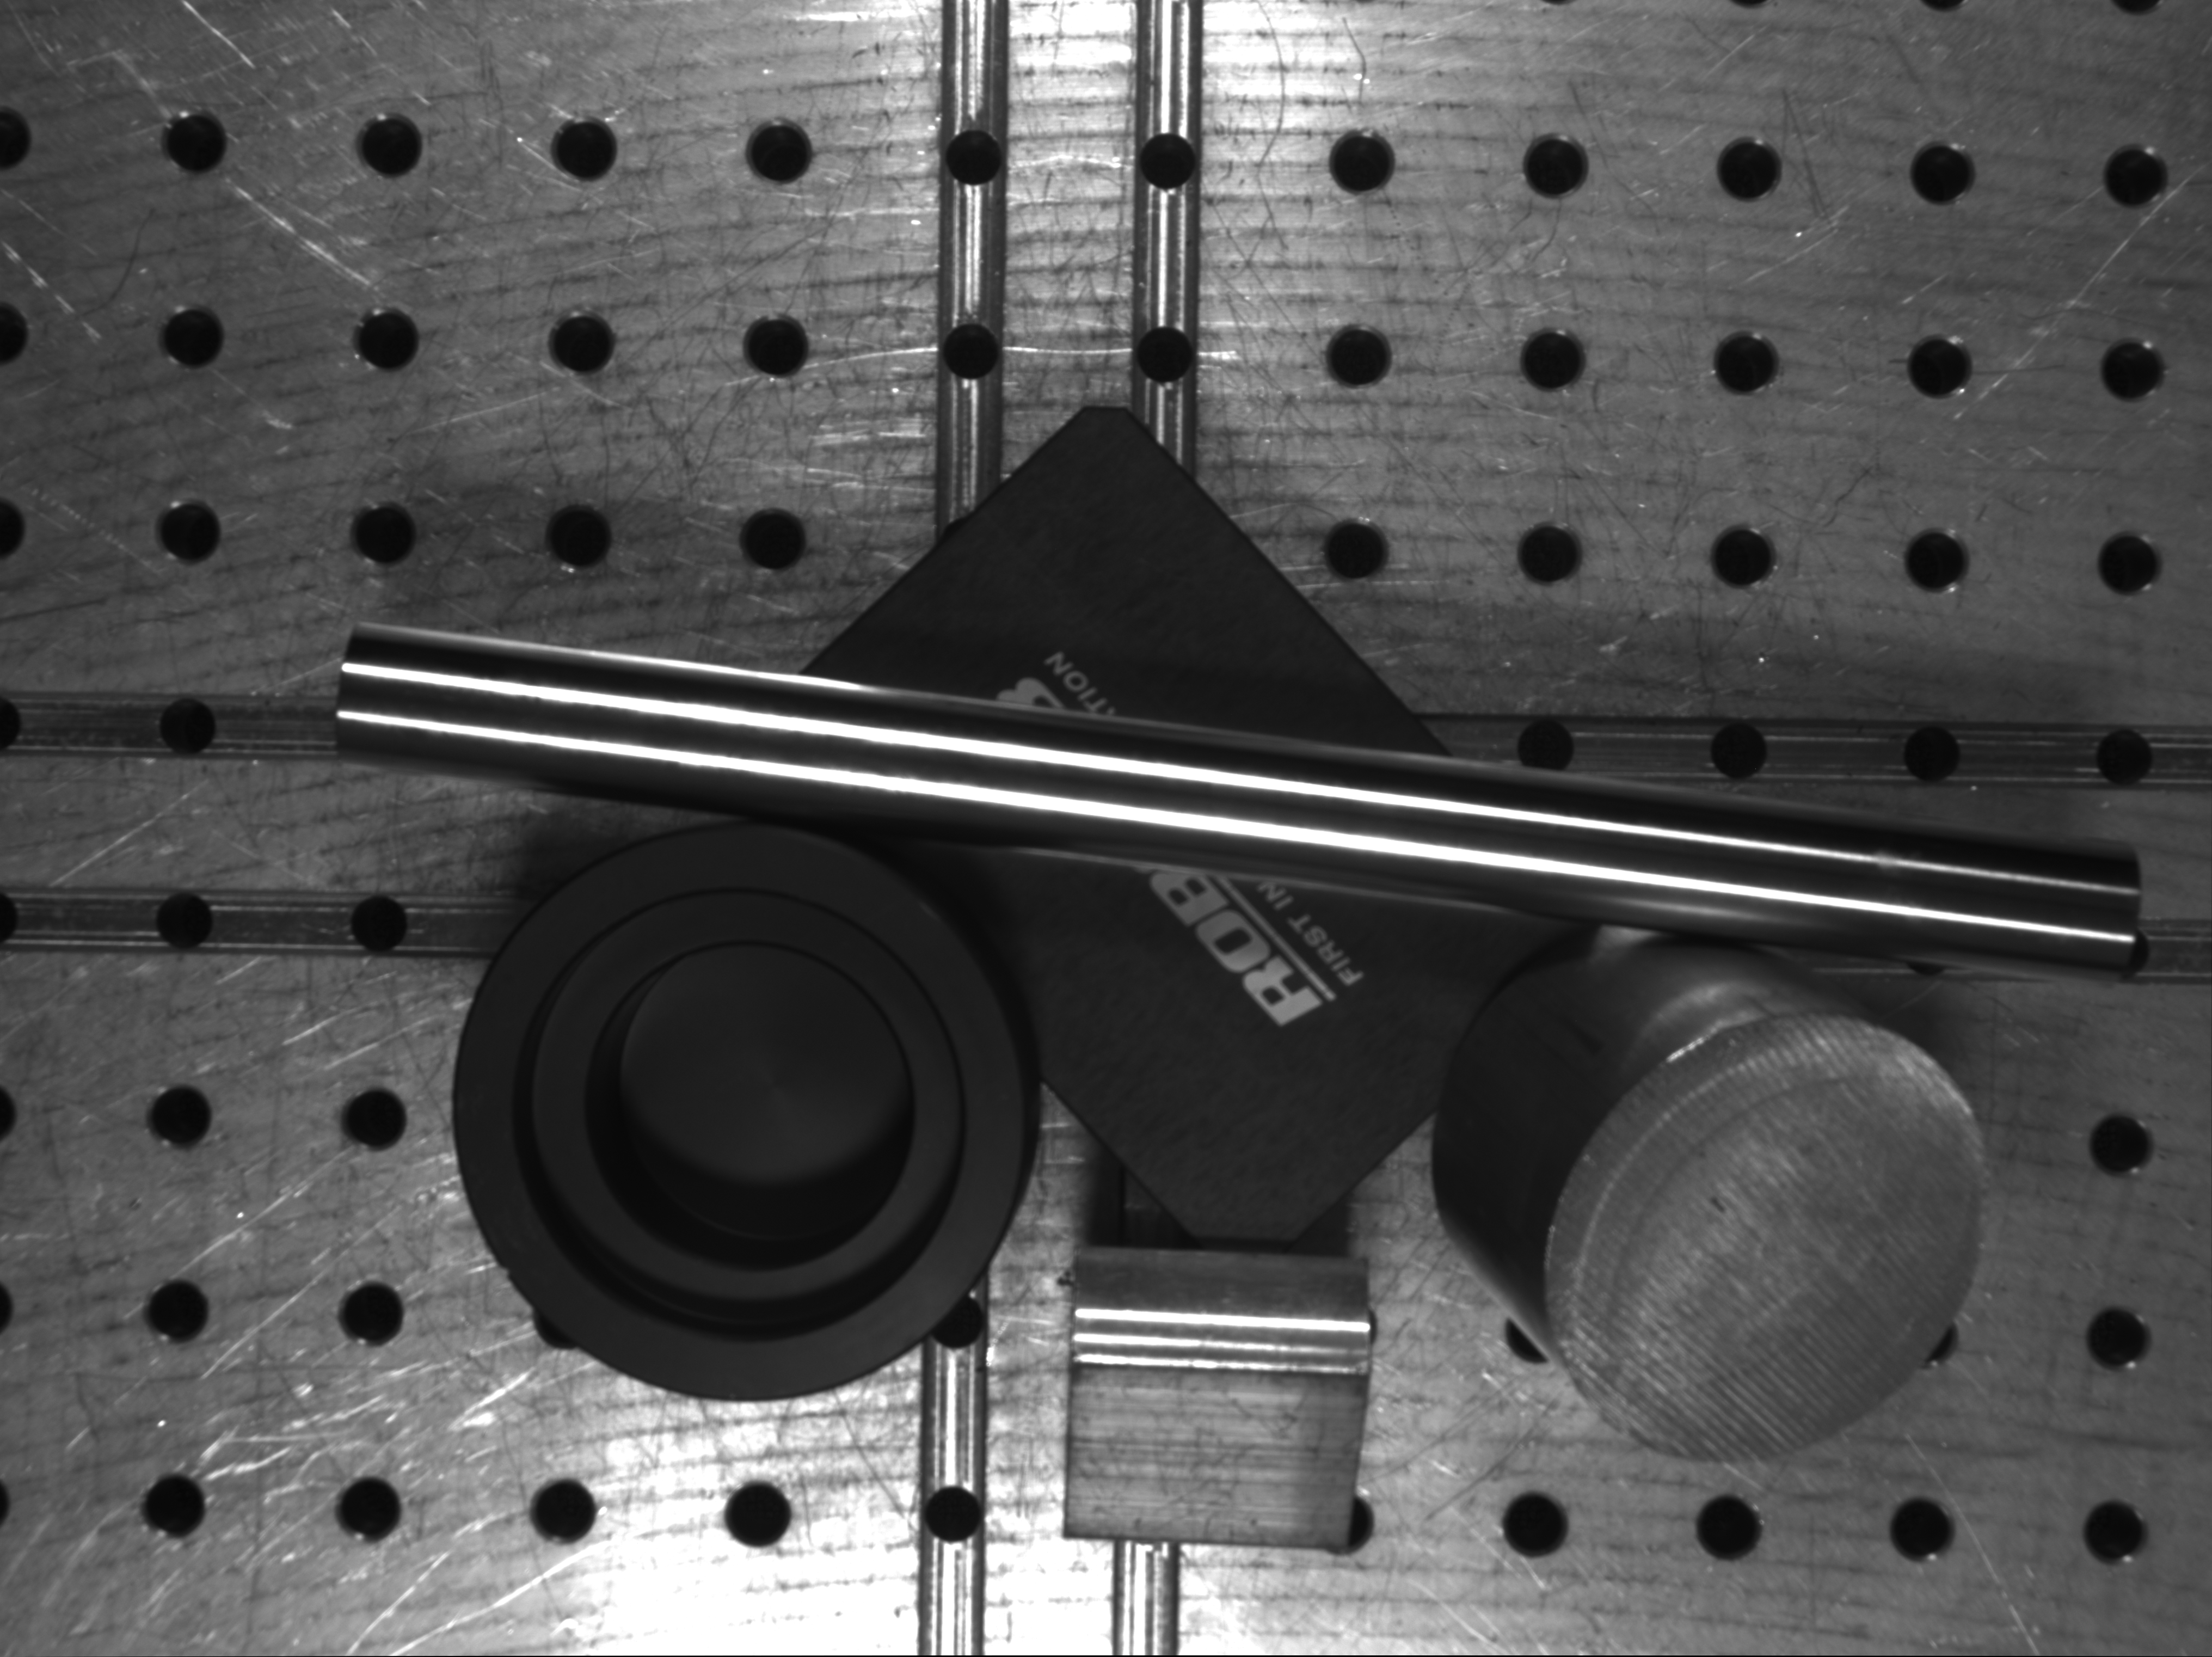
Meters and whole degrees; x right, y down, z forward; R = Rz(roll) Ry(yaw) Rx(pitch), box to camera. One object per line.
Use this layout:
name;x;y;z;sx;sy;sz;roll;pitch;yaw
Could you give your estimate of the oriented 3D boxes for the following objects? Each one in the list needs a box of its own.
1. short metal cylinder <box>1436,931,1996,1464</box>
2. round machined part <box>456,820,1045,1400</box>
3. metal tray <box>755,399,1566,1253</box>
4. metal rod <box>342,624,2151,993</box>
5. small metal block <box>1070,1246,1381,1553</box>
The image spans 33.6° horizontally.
short metal cylinder;0.102;0.060;0.621;0.080;0.050;0.080;-6;110;-16
round machined part;-0.059;0.046;0.633;0.098;0.042;0.098;0;96;5
metal tray;0.013;0.001;0.646;0.090;0.030;0.130;-43;90;0
metal rod;0.023;-0.003;0.616;0.300;0.025;0.025;7;90;-1
small metal block;0.020;0.099;0.634;0.050;0.025;0.050;3;133;-1
